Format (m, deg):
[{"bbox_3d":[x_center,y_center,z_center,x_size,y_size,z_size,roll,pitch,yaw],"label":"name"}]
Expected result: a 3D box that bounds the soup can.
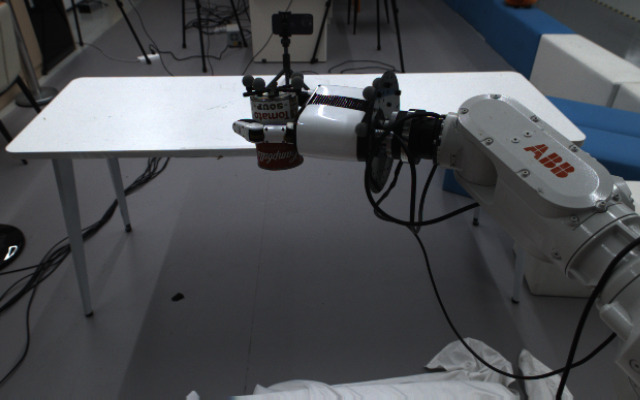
[{"bbox_3d":[-0.060,-0.101,0.683,0.067,0.101,0.067,-4,25,2],"label":"soup can"}]
